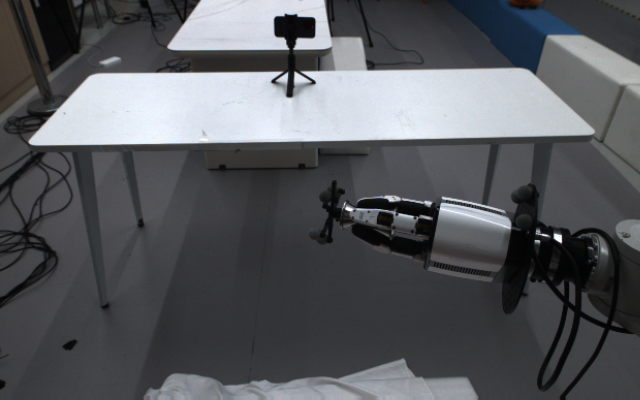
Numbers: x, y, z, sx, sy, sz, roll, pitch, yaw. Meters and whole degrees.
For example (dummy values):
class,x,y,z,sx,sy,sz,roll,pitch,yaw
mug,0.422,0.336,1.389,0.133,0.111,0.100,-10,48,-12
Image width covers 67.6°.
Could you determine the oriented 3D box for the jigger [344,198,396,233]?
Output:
class,x,y,z,sx,sy,sz,roll,pitch,yaw
jigger,0.070,0.021,0.631,0.071,0.043,0.043,10,35,16
